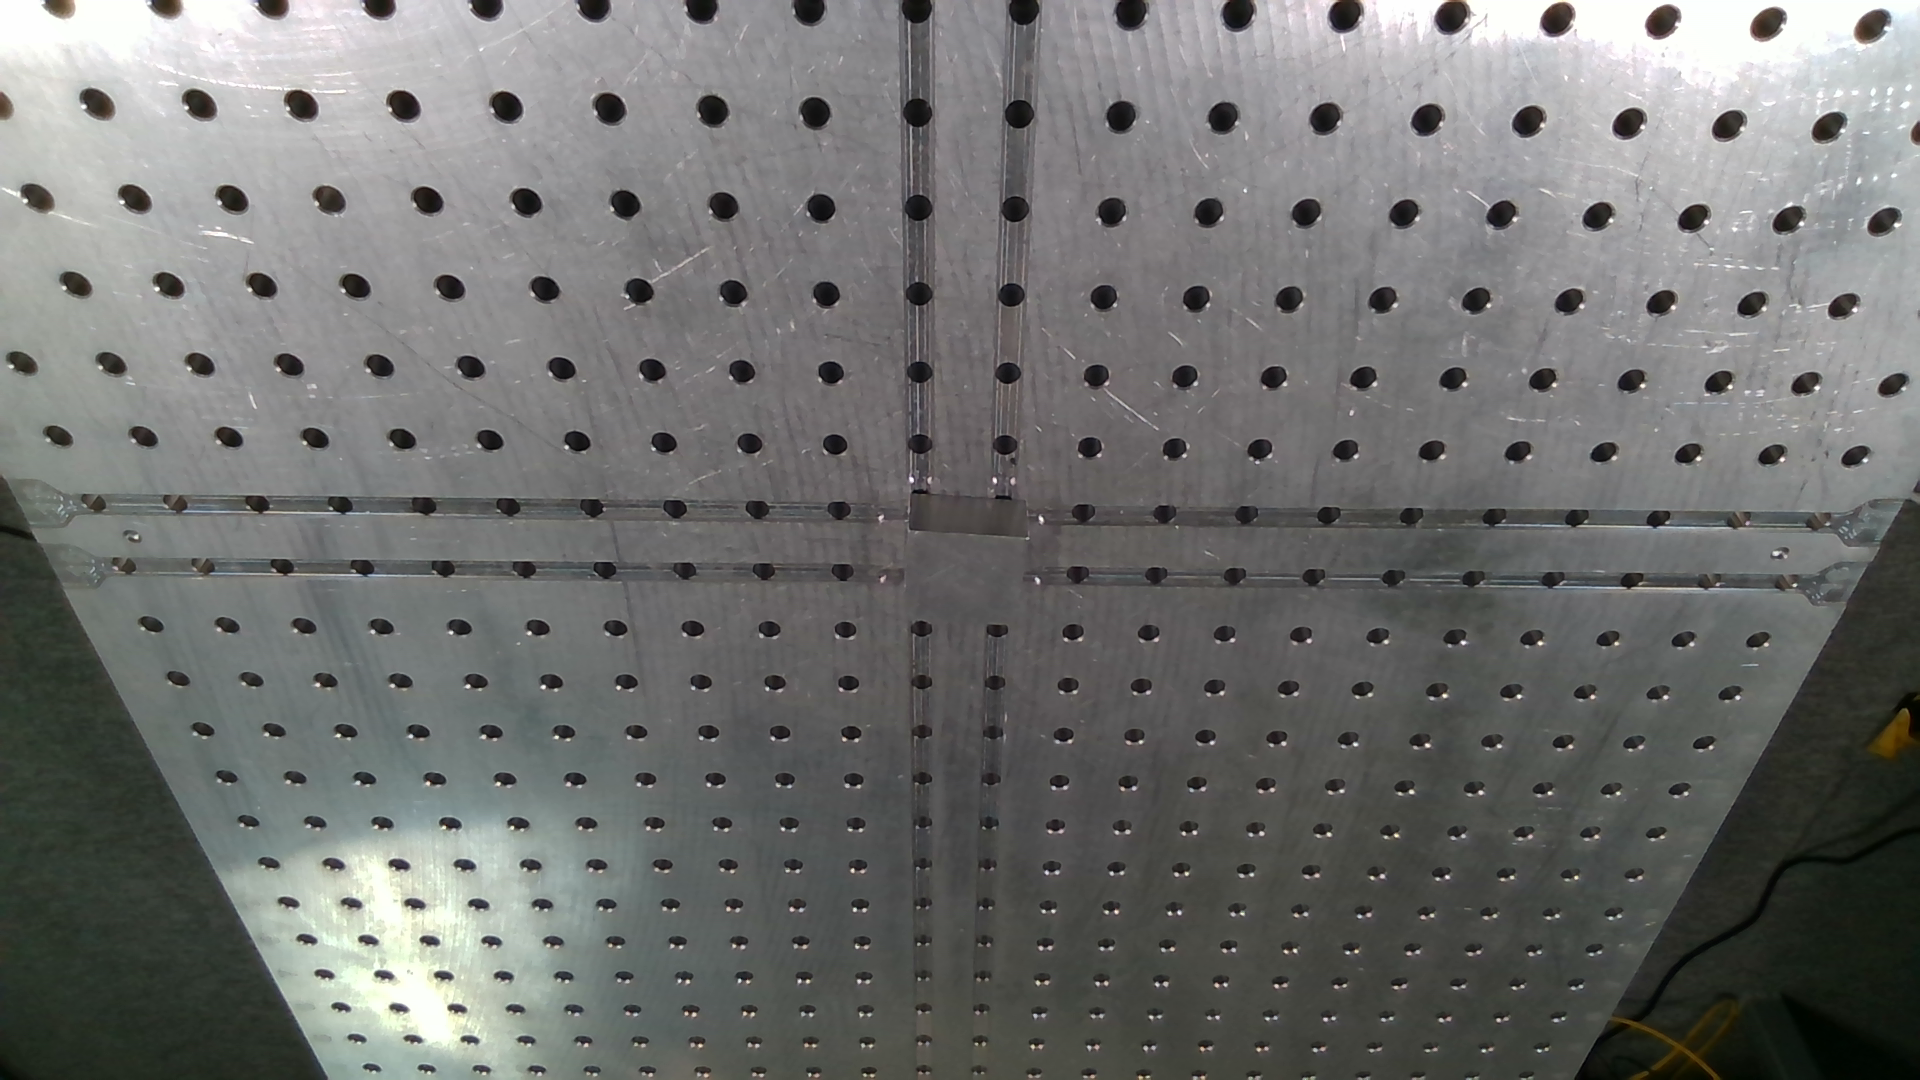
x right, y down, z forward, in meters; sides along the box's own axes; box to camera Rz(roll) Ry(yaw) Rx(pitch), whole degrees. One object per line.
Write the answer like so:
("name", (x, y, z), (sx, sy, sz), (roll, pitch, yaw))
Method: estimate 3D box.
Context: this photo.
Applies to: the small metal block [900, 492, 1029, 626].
("small metal block", (0.001, 0.008, 0.589), (0.050, 0.025, 0.050), (4, 130, -3))
